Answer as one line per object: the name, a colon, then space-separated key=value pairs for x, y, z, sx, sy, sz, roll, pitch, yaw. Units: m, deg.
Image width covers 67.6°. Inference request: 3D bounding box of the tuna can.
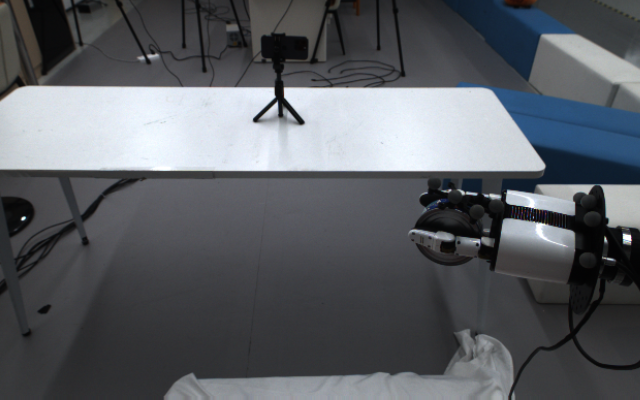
tuna can: x=0.172 y=0.040 z=0.637 sx=0.085 sy=0.085 sz=0.034 roll=16 pitch=28 yaw=19
